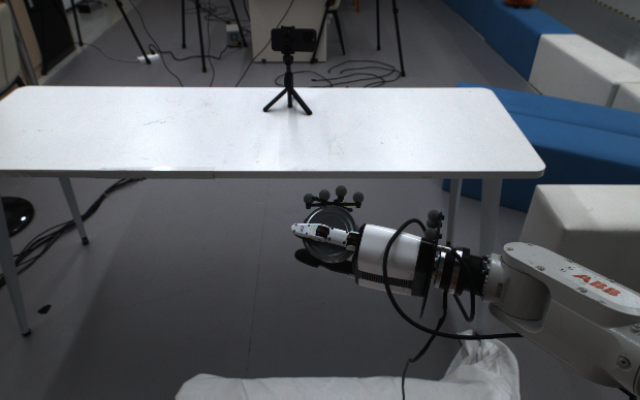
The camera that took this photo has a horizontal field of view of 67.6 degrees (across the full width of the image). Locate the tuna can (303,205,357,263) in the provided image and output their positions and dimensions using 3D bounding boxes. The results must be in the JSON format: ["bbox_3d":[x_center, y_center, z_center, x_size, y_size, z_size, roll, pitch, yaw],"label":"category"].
[{"bbox_3d":[0.018,0.053,0.741,0.085,0.034,0.085,-5,72,14],"label":"tuna can"}]
